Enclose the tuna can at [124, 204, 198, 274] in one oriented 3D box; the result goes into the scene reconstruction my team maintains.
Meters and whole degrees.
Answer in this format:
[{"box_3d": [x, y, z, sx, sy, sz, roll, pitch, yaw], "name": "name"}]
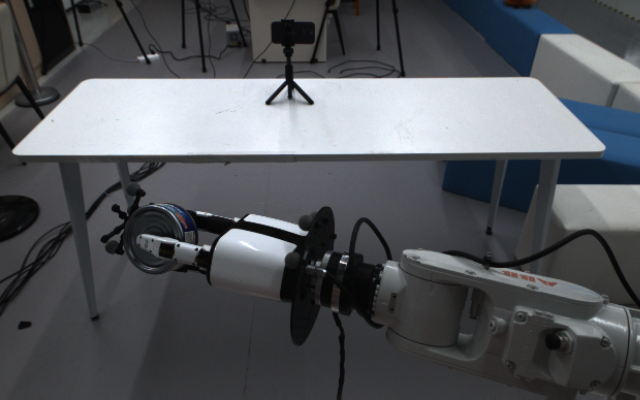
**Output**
[{"box_3d": [-0.192, 0.046, 0.590, 0.085, 0.085, 0.034, 12, 5, 14], "name": "tuna can"}]
